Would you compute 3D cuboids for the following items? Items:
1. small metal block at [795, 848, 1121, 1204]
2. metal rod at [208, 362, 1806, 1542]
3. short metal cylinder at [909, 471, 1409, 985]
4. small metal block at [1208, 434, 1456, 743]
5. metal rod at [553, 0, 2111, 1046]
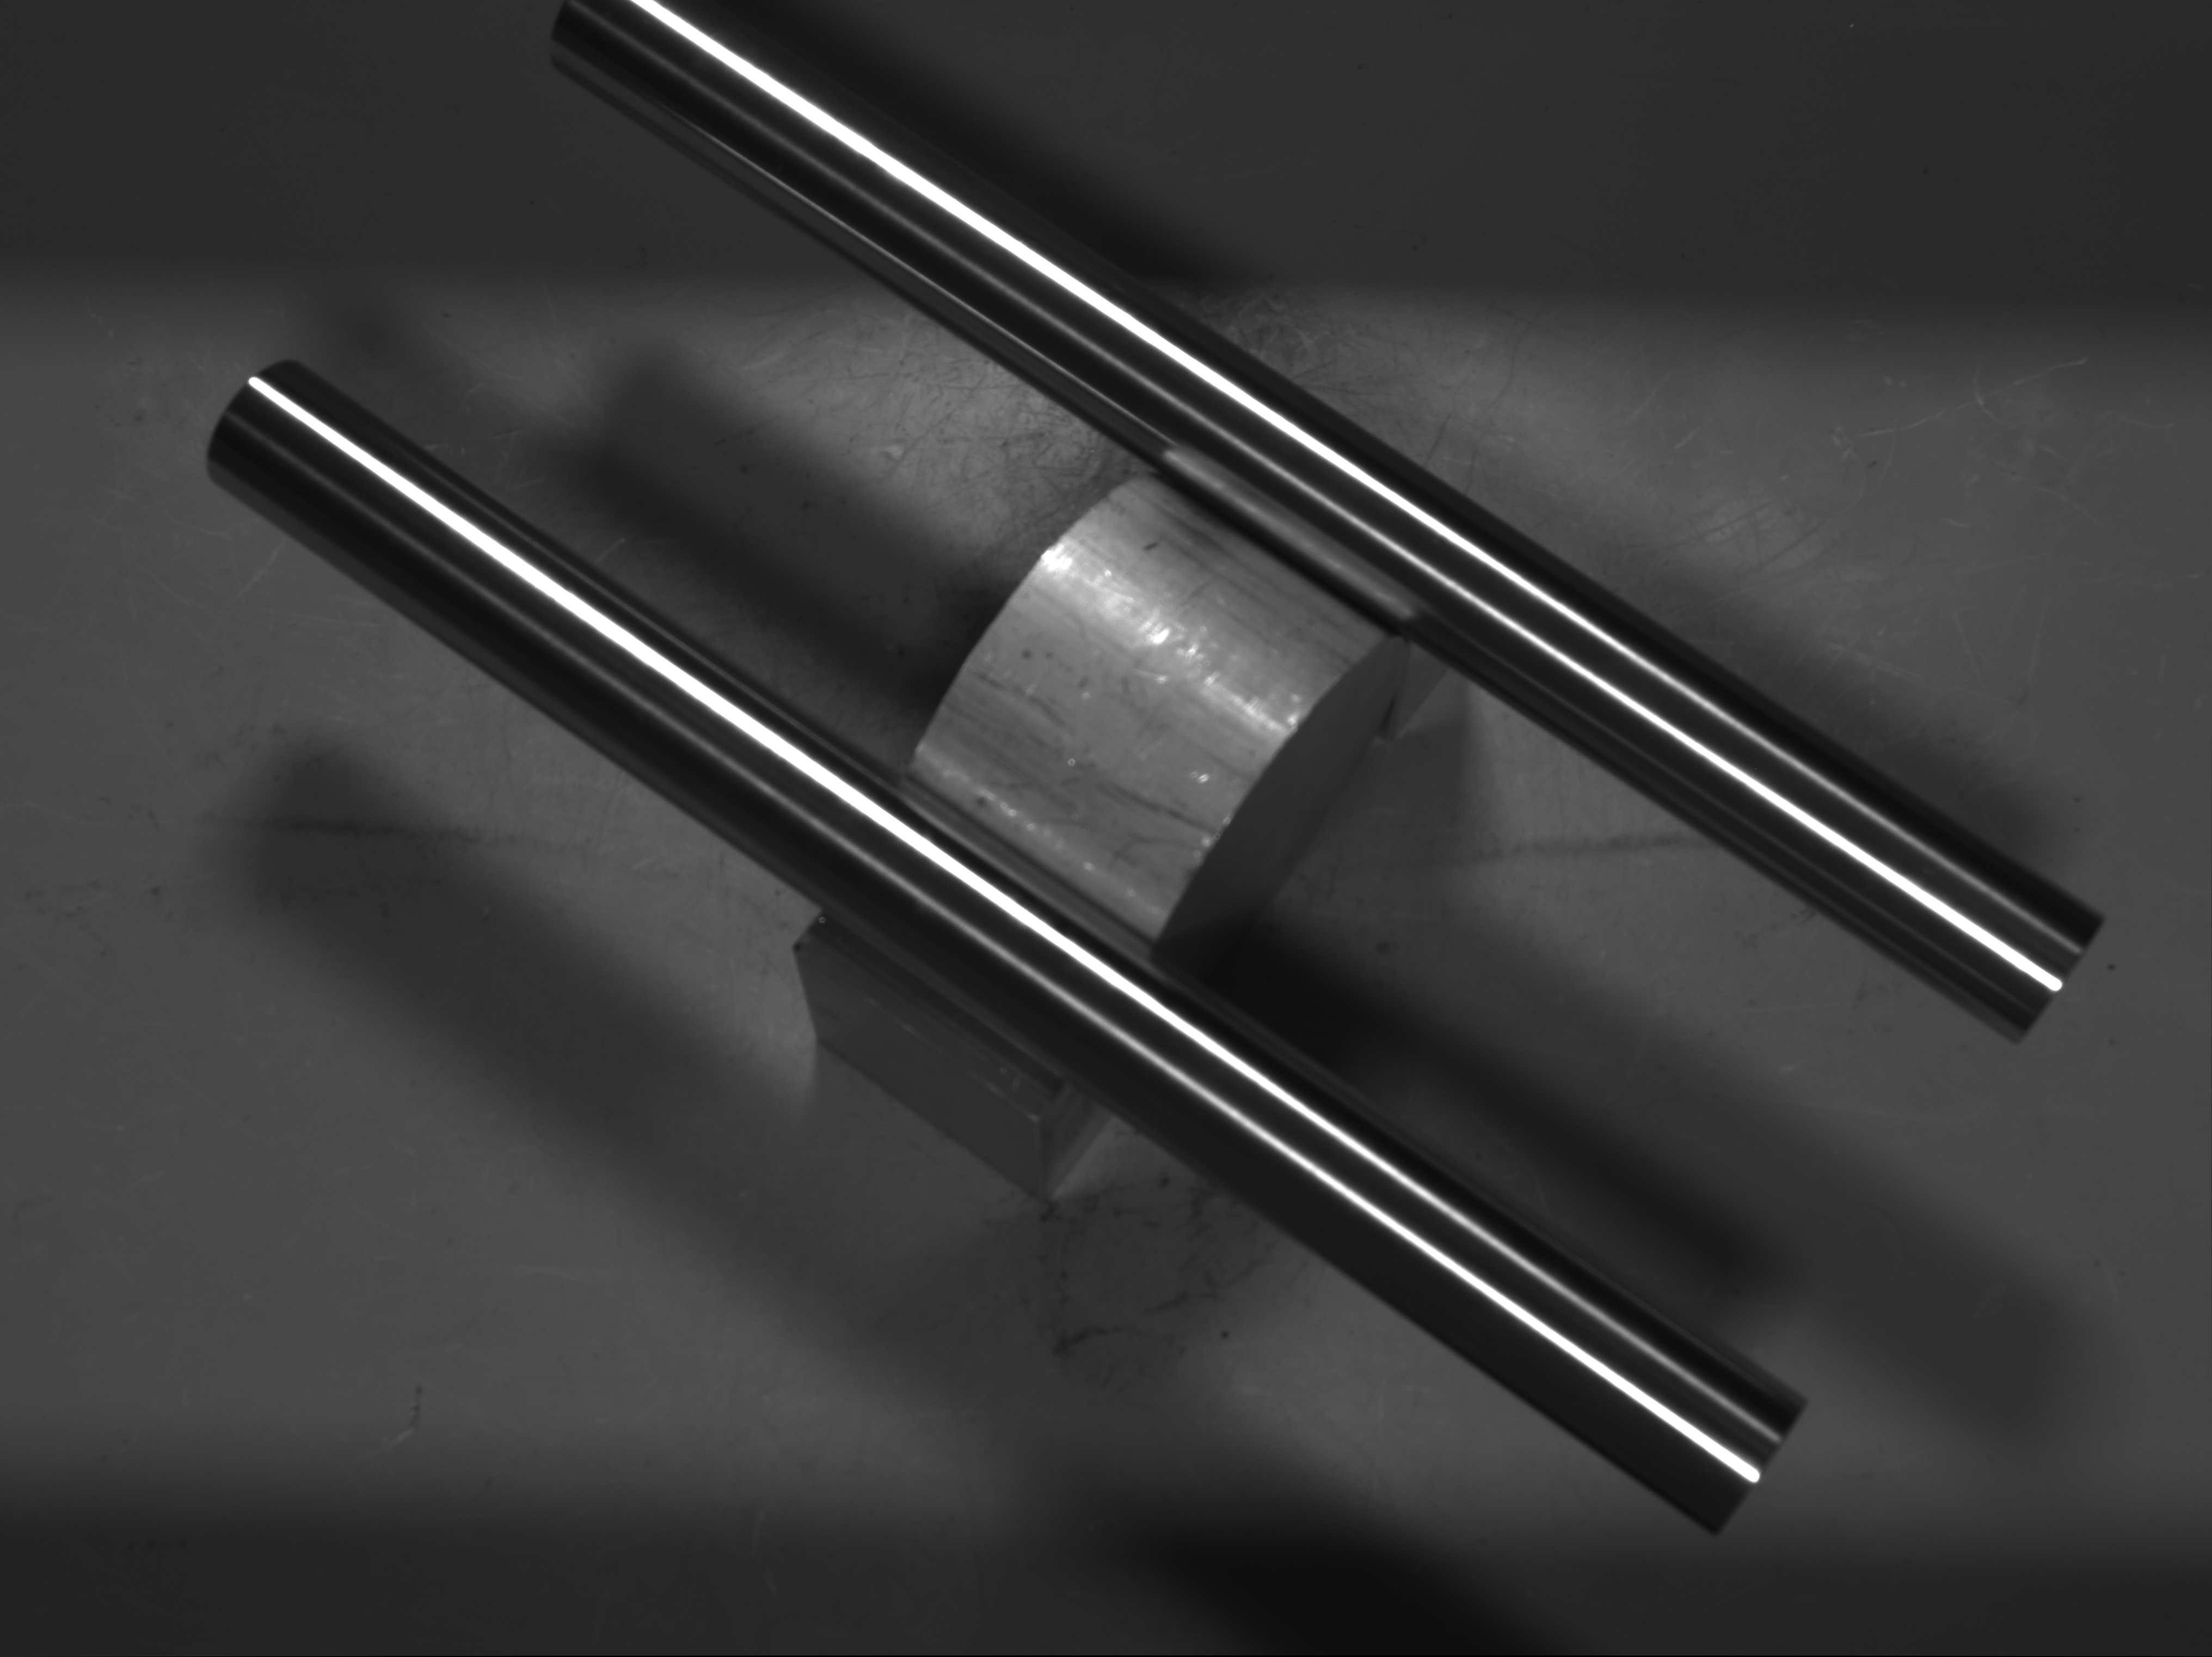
[{"bbox_3d":[-0.023,0.033,0.618,0.050,0.050,0.025,35,74,12],"label":"small metal block"},{"bbox_3d":[-0.022,0.015,0.586,0.300,0.025,0.025,34,73,12],"label":"metal rod"},{"bbox_3d":[0.008,-0.013,0.619,0.050,0.080,0.080,35,74,12],"label":"short metal cylinder"},{"bbox_3d":[0.040,-0.048,0.647,0.050,0.050,0.025,35,74,12],"label":"small metal block"},{"bbox_3d":[0.032,-0.059,0.612,0.300,0.025,0.025,35,74,12],"label":"metal rod"}]
